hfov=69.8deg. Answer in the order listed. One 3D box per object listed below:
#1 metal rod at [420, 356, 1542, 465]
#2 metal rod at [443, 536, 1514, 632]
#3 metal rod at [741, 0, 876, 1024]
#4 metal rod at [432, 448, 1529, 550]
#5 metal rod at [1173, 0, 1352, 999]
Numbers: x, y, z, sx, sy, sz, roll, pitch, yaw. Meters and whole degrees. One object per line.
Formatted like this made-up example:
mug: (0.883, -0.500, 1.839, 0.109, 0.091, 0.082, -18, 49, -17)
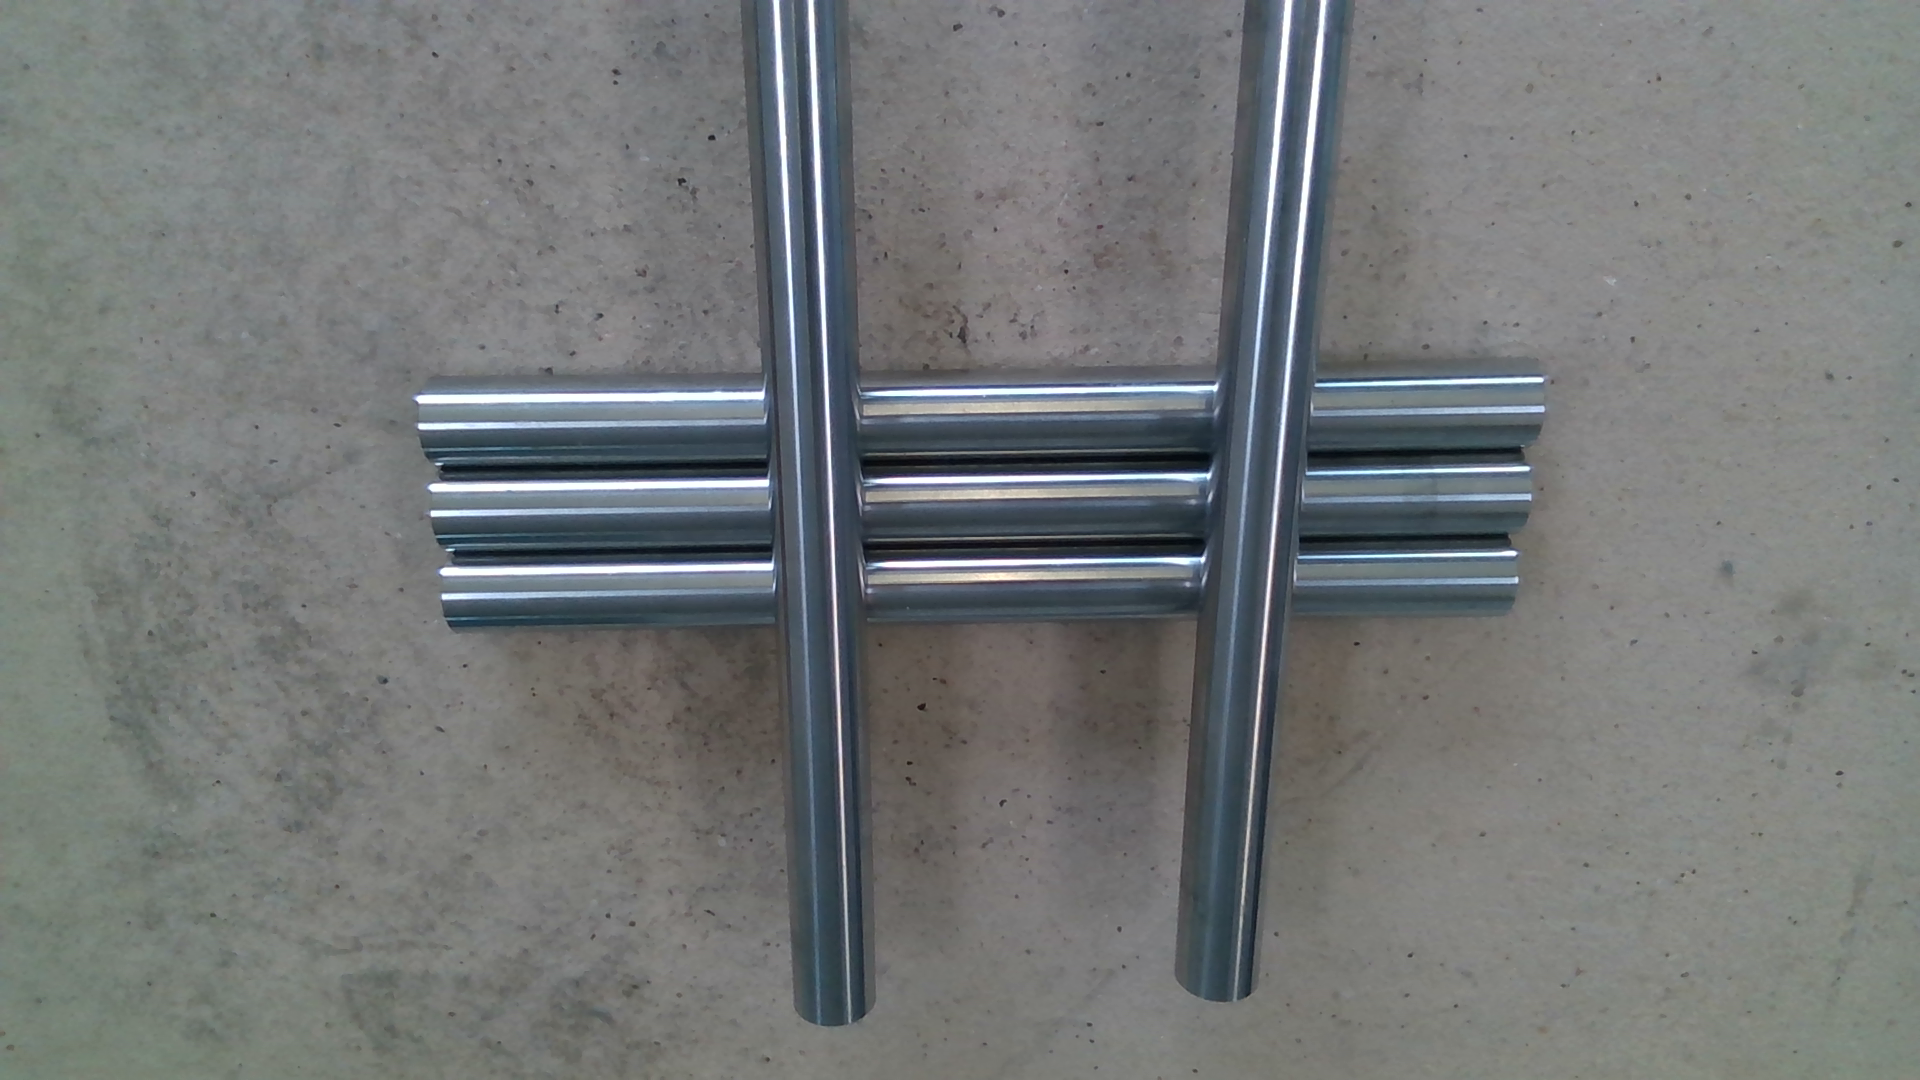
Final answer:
metal rod: (0.005, -0.036, 0.380, 0.300, 0.025, 0.025, -1, 110, 0)
metal rod: (0.005, 0.012, 0.398, 0.300, 0.025, 0.025, -1, 110, 0)
metal rod: (-0.038, -0.002, 0.366, 0.025, 0.025, 0.301, 0, 110, 0)
metal rod: (0.005, -0.012, 0.389, 0.300, 0.025, 0.025, -1, 110, 0)
metal rod: (0.078, -0.011, 0.363, 0.025, 0.025, 0.301, 0, 110, 0)
